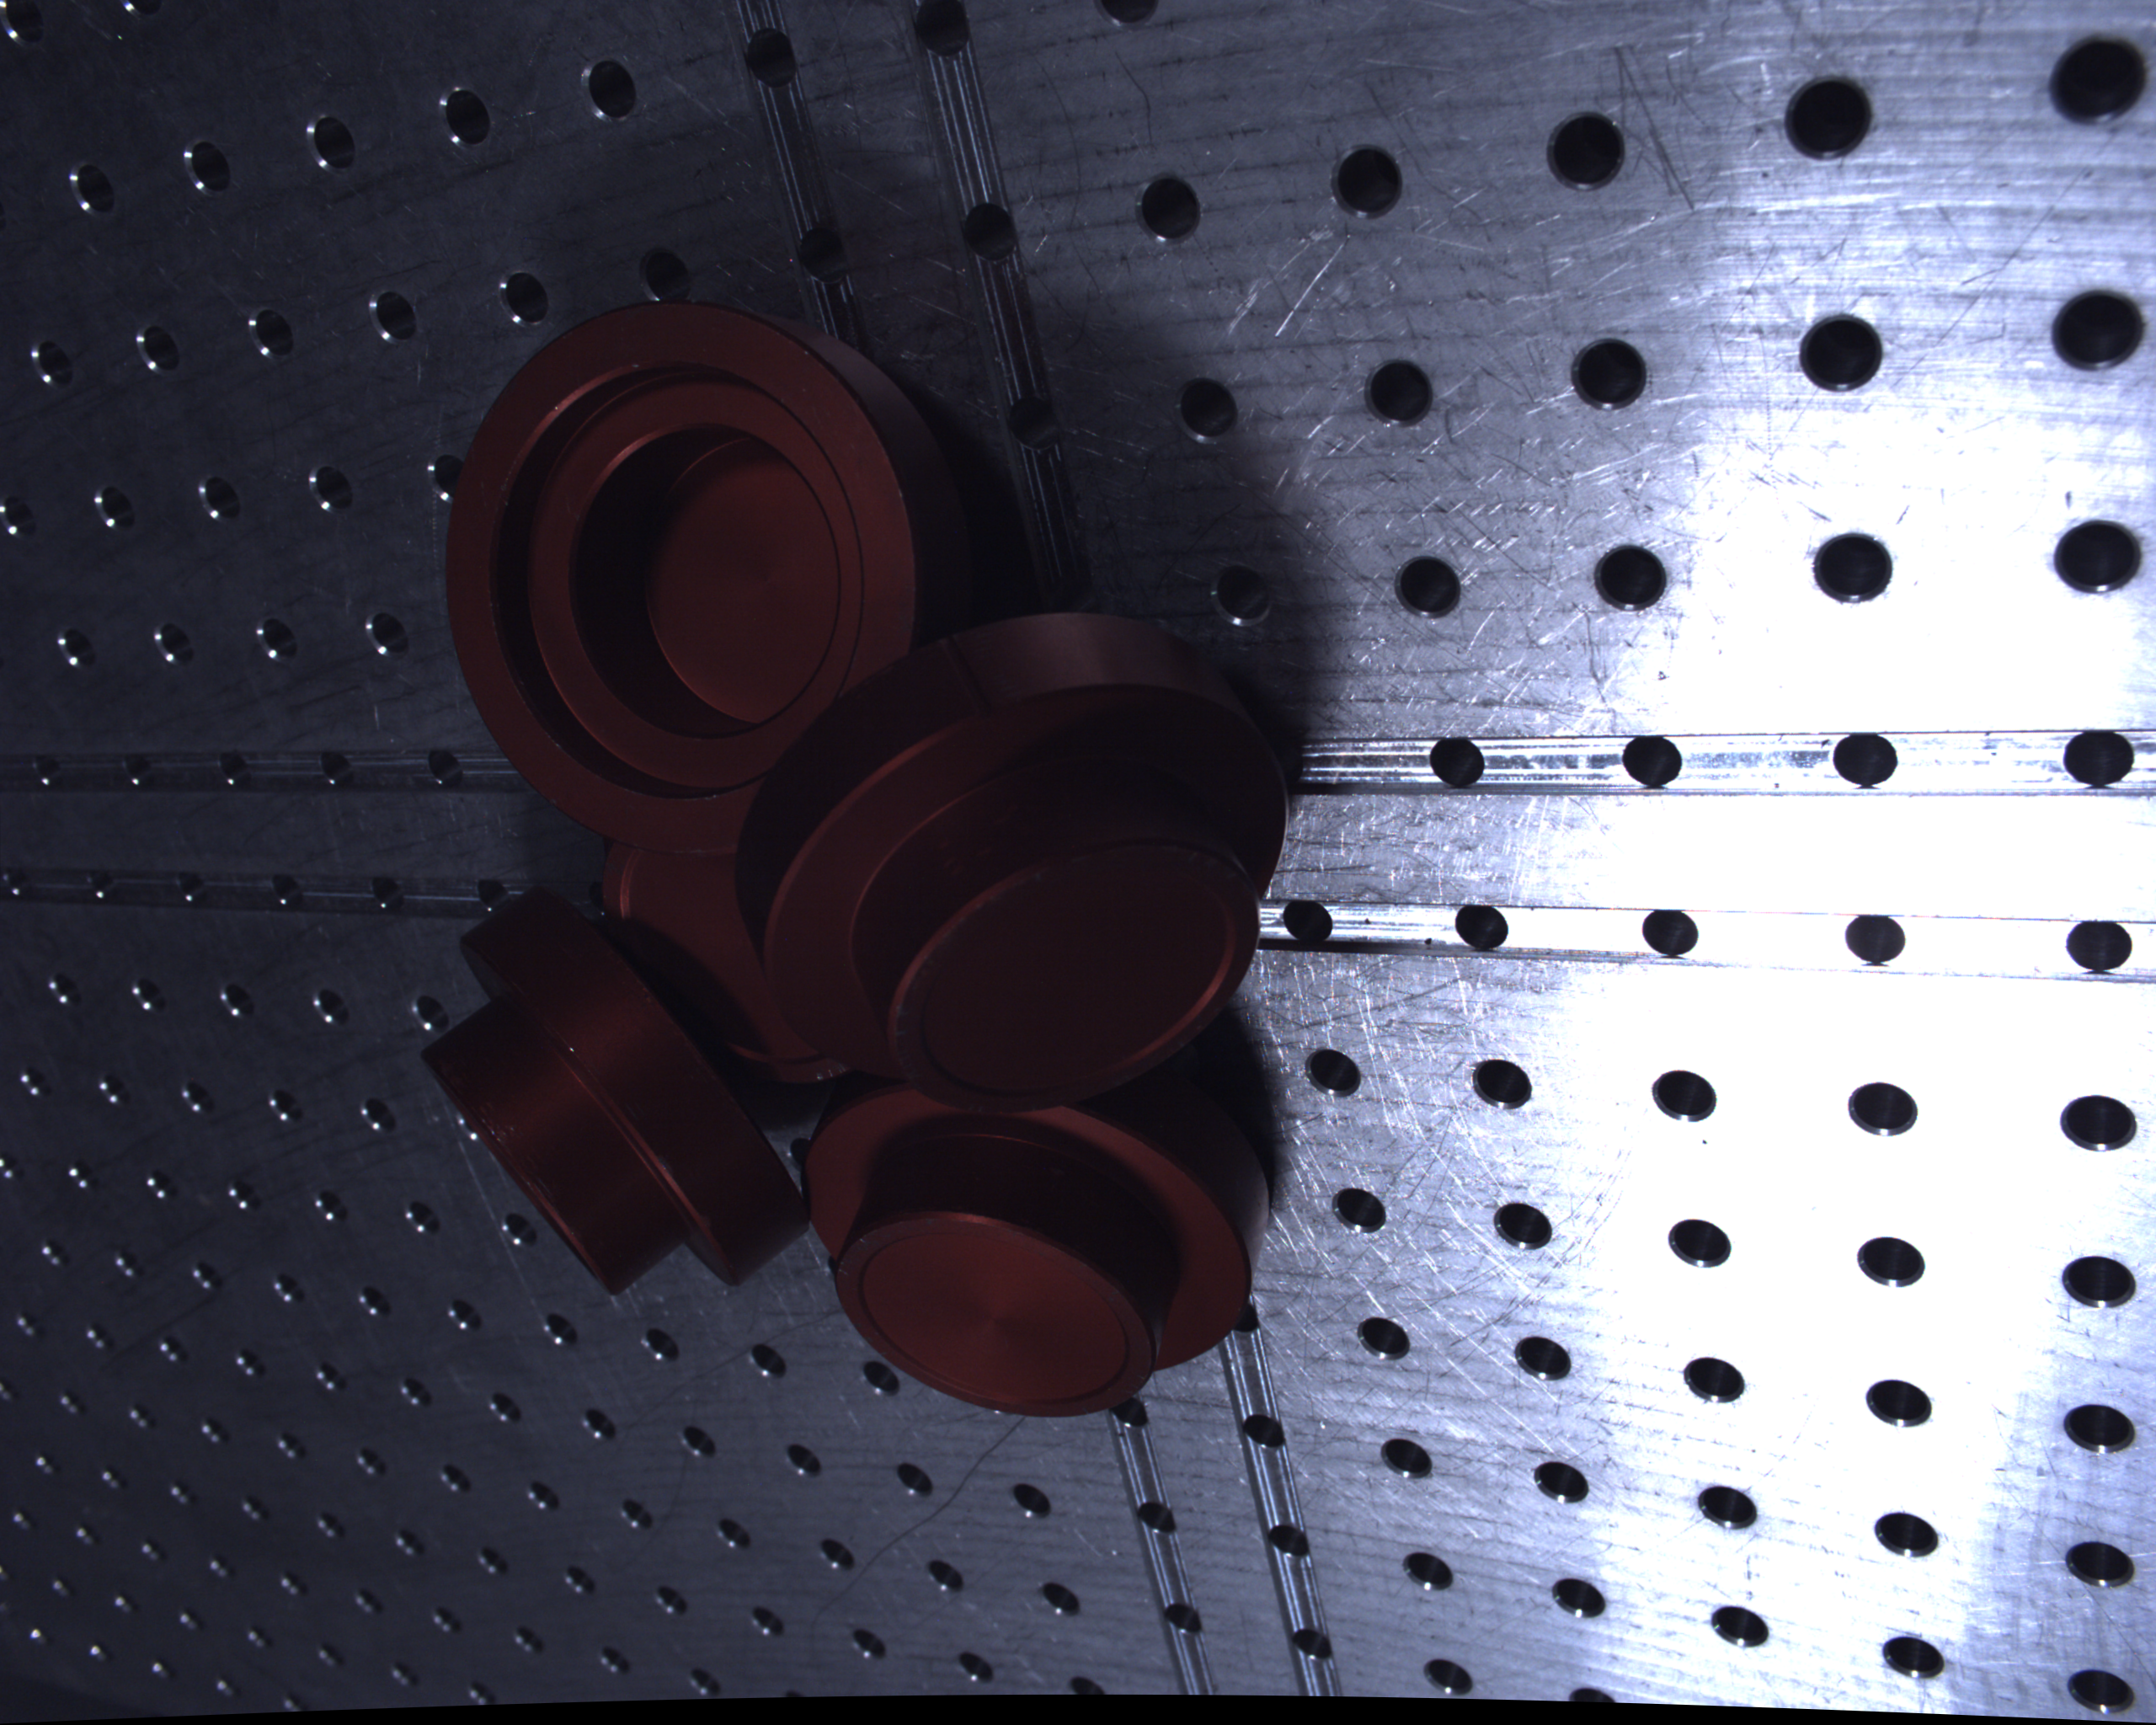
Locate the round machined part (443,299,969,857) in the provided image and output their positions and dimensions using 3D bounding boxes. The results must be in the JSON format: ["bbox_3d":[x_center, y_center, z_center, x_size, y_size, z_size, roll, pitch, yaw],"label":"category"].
[{"bbox_3d":[-0.064,-0.052,0.386,0.098,0.042,0.097,3,99,22],"label":"round machined part"}]

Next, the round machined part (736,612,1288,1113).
[{"bbox_3d":[-0.007,0.007,0.369,0.042,0.099,0.097,61,141,39],"label":"round machined part"}]

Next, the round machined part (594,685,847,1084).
[{"bbox_3d":[-0.060,0.007,0.433,0.098,0.042,0.097,13,124,20],"label":"round machined part"}]

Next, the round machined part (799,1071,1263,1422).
[{"bbox_3d":[-0.013,0.080,0.439,0.098,0.042,0.097,10,133,11],"label":"round machined part"}]

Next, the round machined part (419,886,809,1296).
[{"bbox_3d":[-0.107,0.056,0.458,0.098,0.042,0.098,43,159,22],"label":"round machined part"}]
